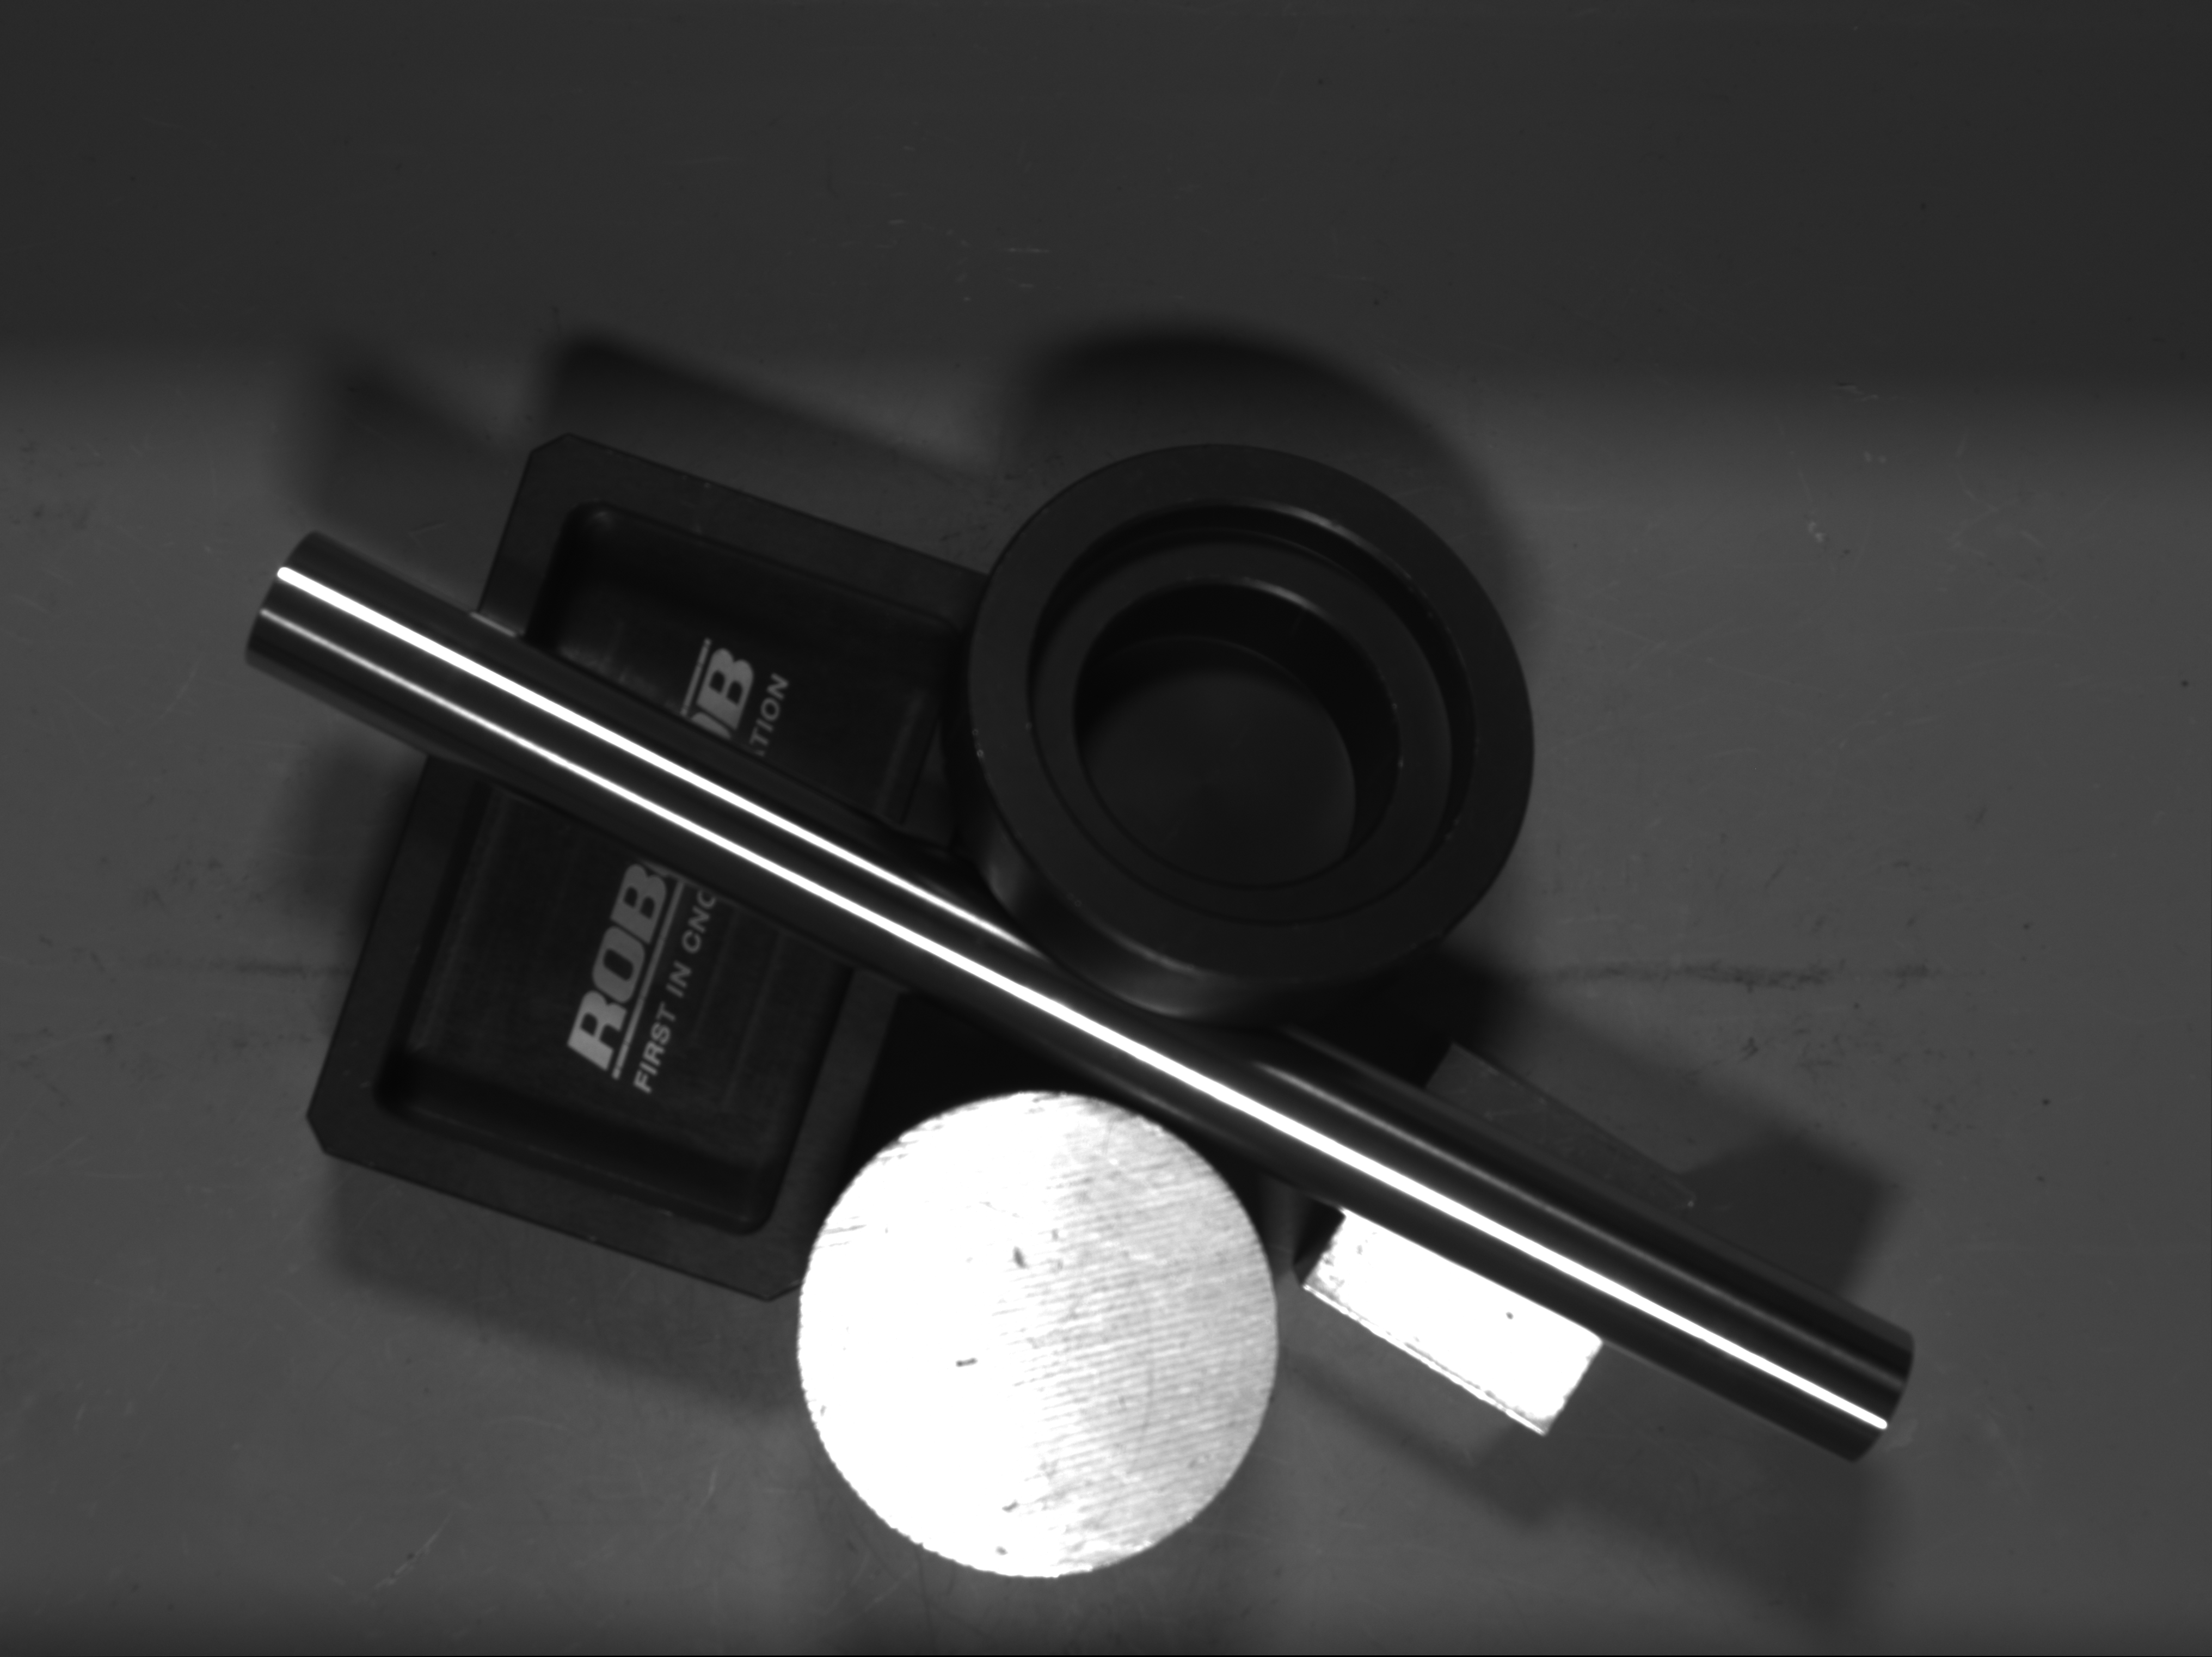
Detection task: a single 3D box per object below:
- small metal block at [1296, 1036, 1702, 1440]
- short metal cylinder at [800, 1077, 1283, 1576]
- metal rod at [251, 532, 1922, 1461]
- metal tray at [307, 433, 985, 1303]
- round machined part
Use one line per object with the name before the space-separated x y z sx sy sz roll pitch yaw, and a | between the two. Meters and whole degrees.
small metal block | 0.069 0.071 0.644 0.050 0.025 0.050 32 90 0
short metal cylinder | -0.011 0.084 0.631 0.080 0.050 0.080 0 90 0
metal rod | -0.002 0.029 0.615 0.300 0.025 0.025 27 90 -3
metal tray | -0.075 0.007 0.640 0.090 0.030 0.130 18 90 0
round machined part | 0.021 -0.012 0.623 0.098 0.042 0.098 5 67 -12
